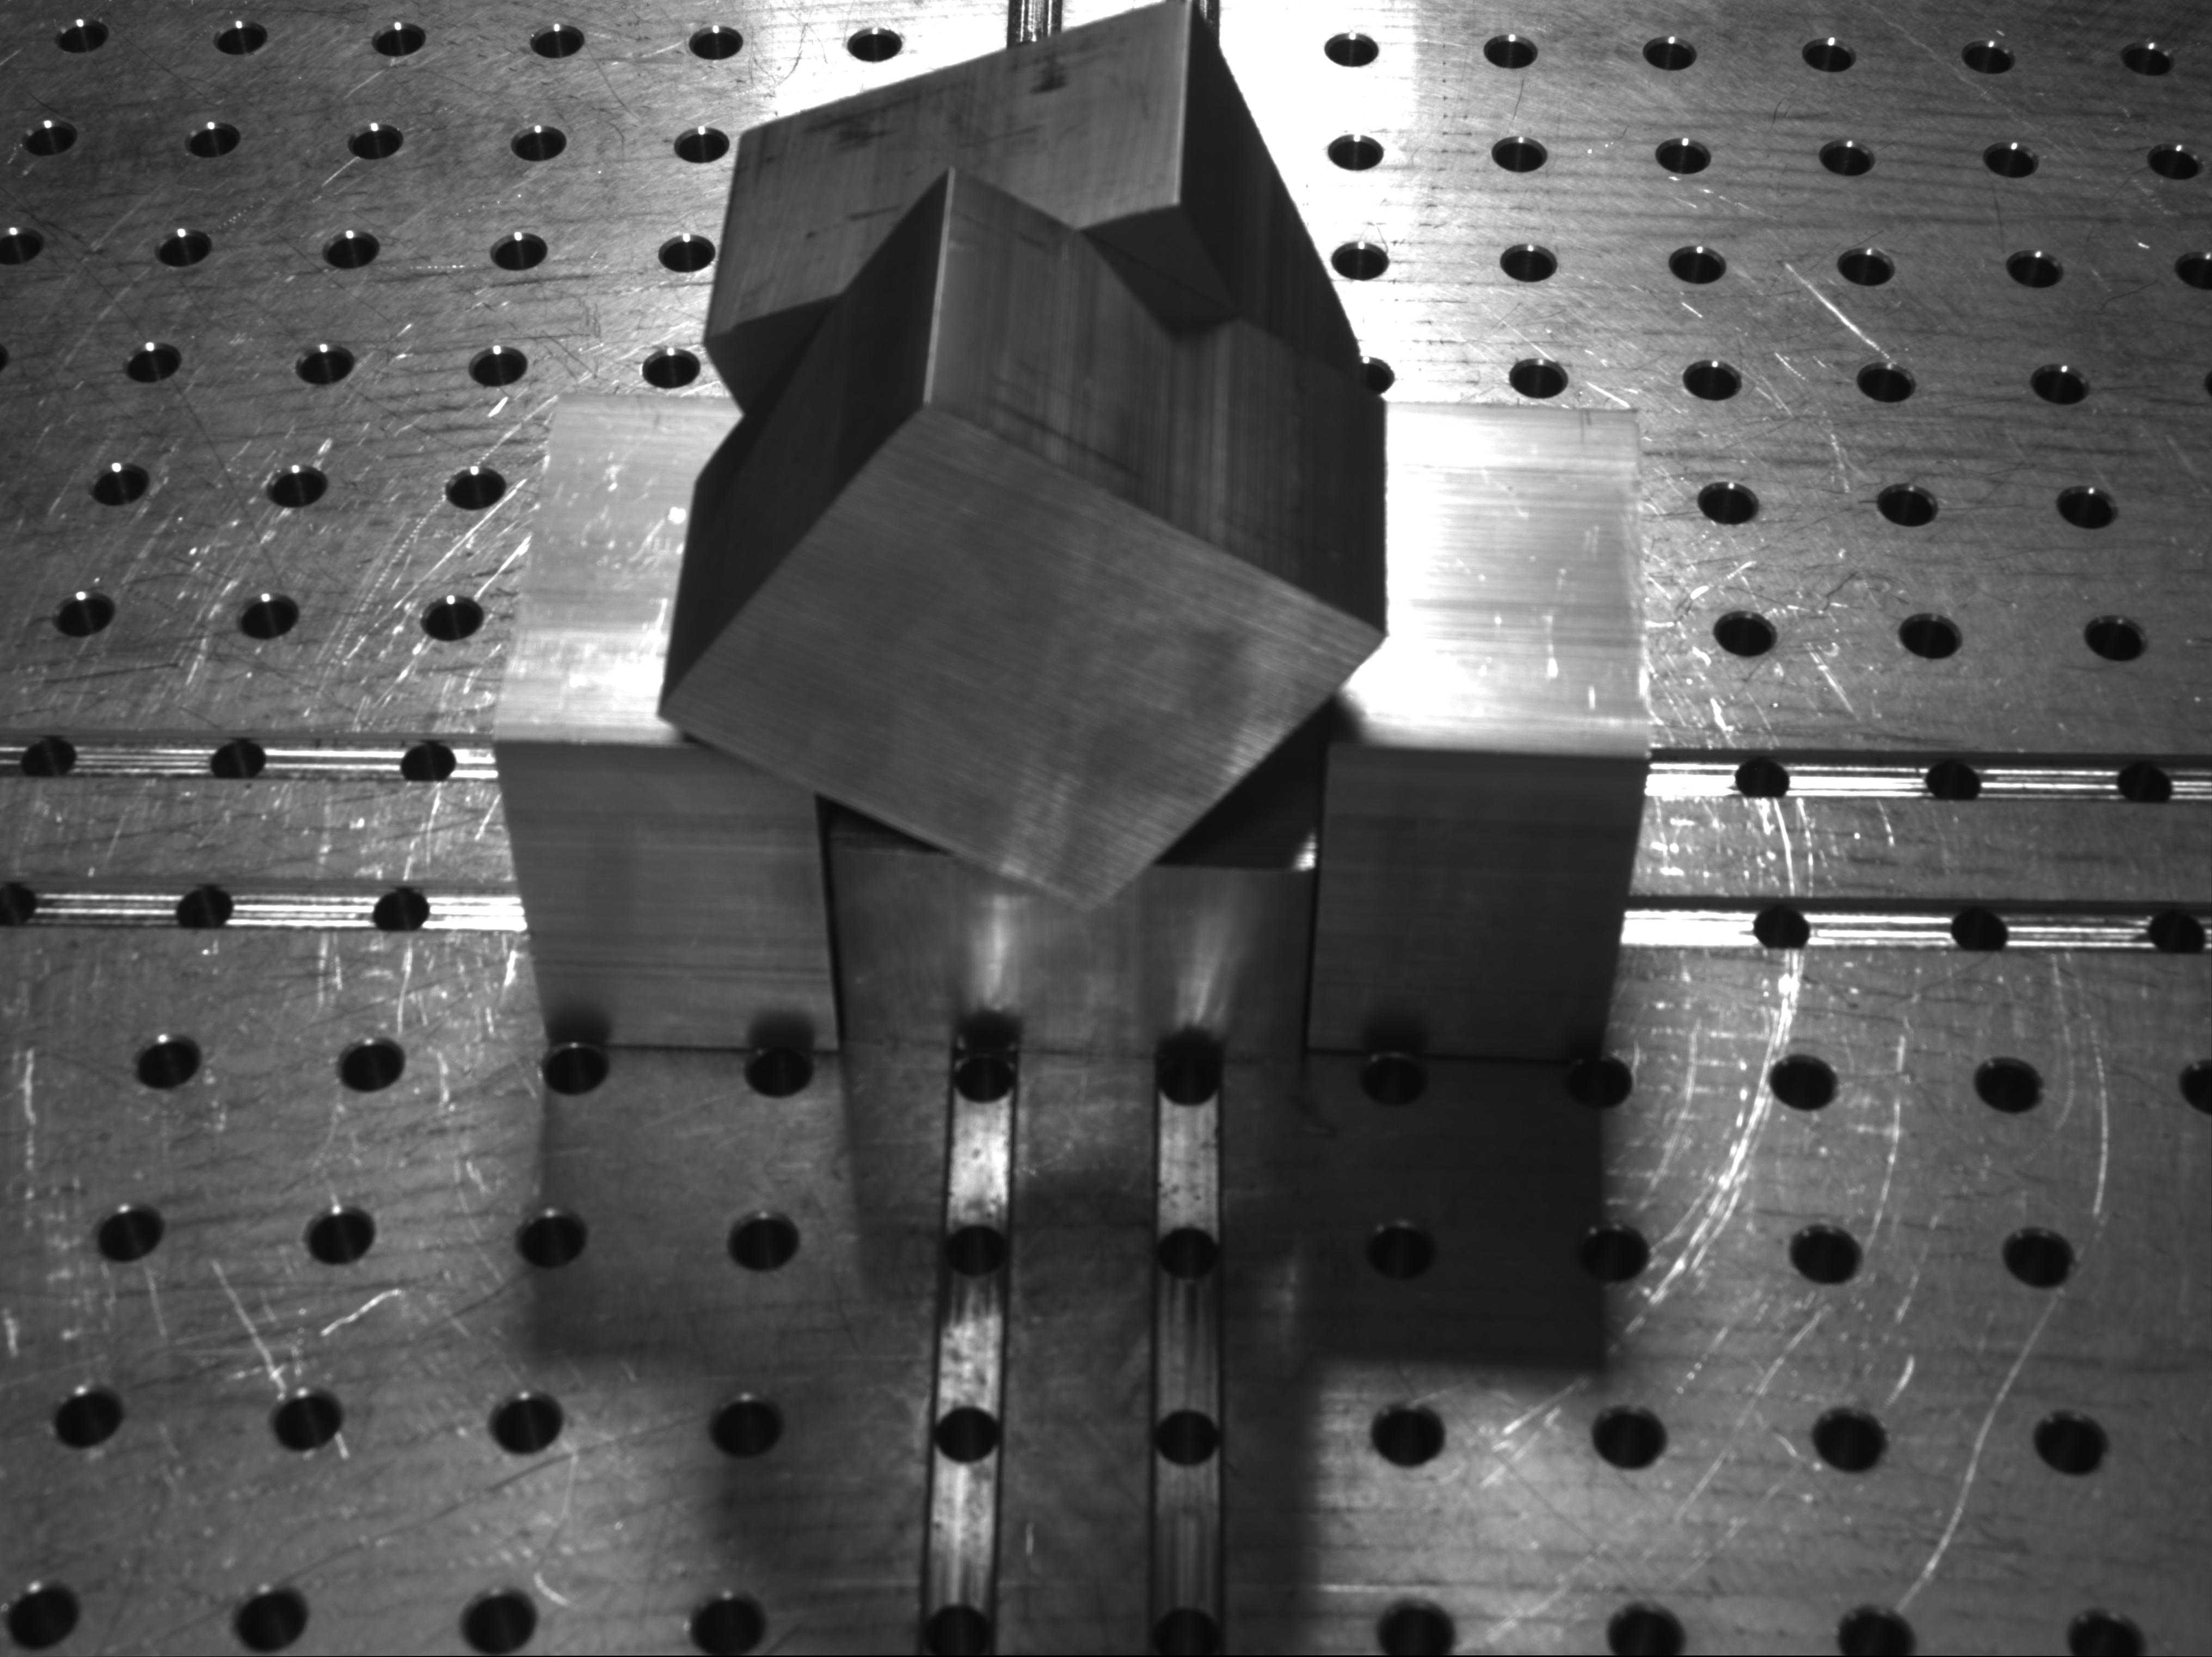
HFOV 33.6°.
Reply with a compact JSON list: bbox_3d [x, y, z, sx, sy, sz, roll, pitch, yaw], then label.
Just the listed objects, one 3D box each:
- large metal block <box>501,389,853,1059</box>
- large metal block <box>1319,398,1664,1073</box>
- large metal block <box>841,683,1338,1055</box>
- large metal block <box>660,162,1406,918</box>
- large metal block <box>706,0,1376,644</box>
[{"bbox_3d":[-0.067,-0.017,0.624,0.050,0.080,0.080,1,50,1],"label":"large metal block"},{"bbox_3d":[0.064,-0.016,0.622,0.050,0.080,0.080,3,50,3],"label":"large metal block"},{"bbox_3d":[-0.001,-0.009,0.634,0.080,0.050,0.080,2,50,2],"label":"large metal block"},{"bbox_3d":[-0.011,-0.041,0.556,0.080,0.080,0.050,25,45,-23],"label":"large metal block"},{"bbox_3d":[-0.008,-0.078,0.591,0.080,0.080,0.050,-13,47,19],"label":"large metal block"}]
